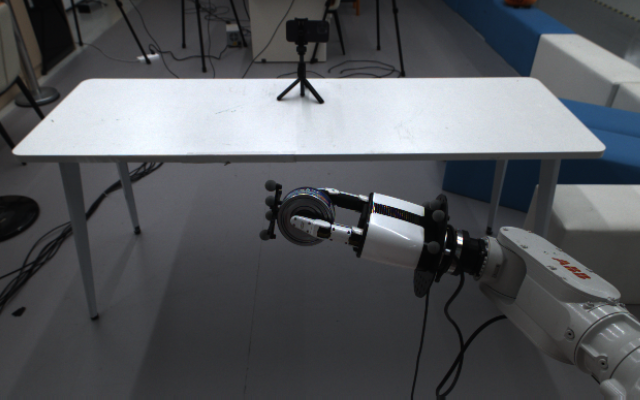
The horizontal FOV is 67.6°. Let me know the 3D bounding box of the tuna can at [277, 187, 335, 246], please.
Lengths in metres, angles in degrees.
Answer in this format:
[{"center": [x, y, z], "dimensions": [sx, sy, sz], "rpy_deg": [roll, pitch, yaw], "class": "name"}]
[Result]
[{"center": [-0.019, 0.025, 0.727], "dimensions": [0.085, 0.085, 0.034], "rpy_deg": [4, 18, 3], "class": "tuna can"}]
